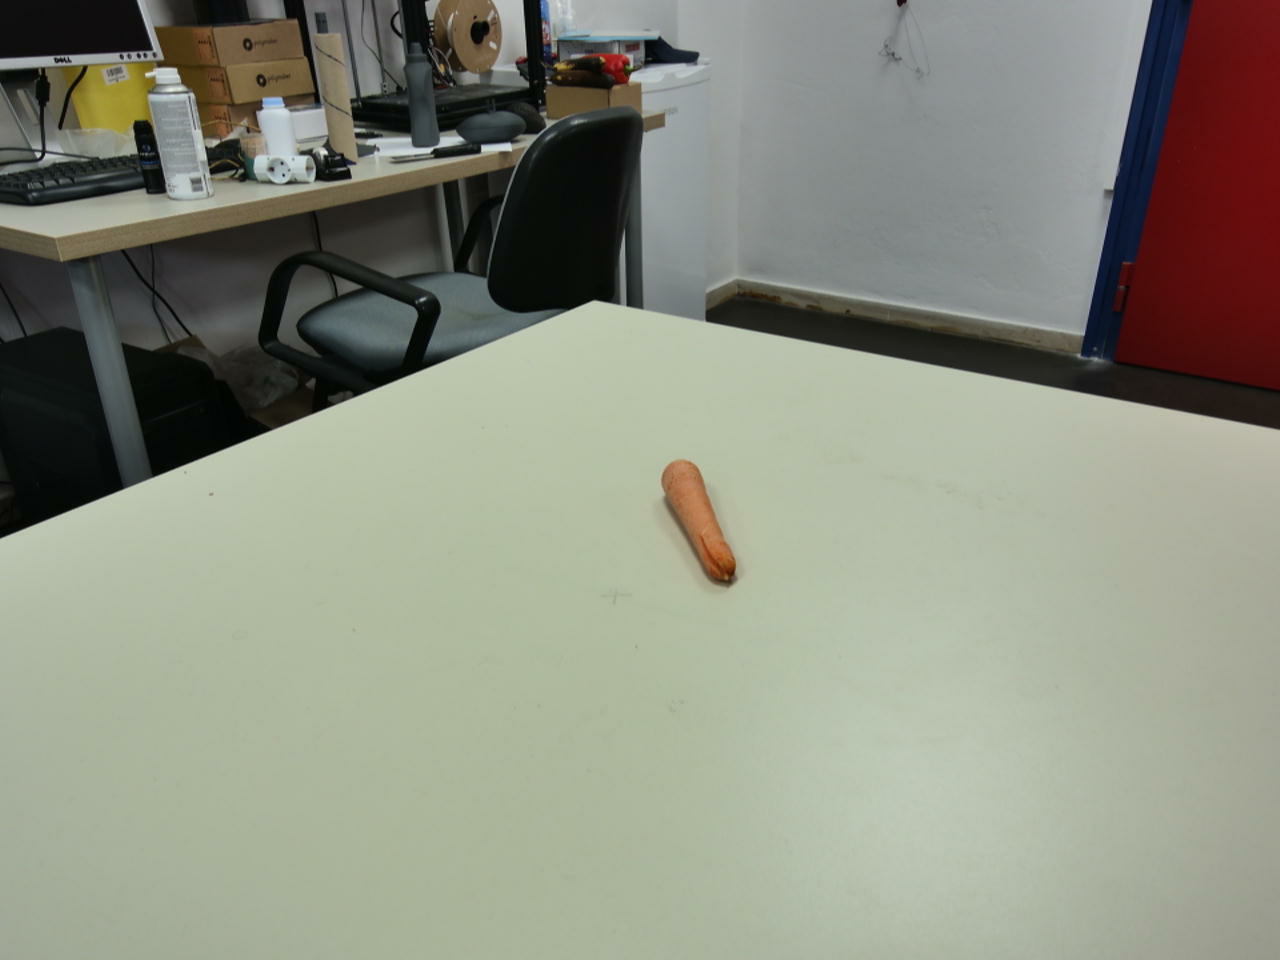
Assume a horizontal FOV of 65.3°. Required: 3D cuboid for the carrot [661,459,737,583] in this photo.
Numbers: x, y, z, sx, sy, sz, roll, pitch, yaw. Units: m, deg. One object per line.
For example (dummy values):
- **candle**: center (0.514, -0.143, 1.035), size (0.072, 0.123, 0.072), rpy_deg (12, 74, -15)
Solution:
- **carrot**: center (0.037, 0.022, 0.648), size (0.030, 0.032, 0.136), rpy_deg (-4, 25, -9)
